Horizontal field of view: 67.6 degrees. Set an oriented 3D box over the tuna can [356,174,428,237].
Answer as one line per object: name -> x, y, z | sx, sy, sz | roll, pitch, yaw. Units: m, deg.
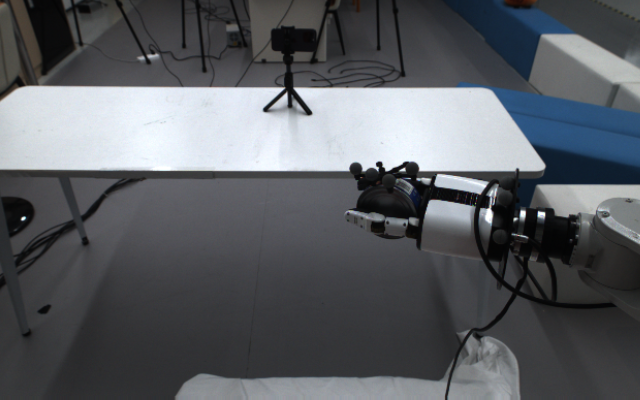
tuna can -> 0.098, 0.008, 0.668 | 0.085, 0.085, 0.034 | 17, 37, 20
